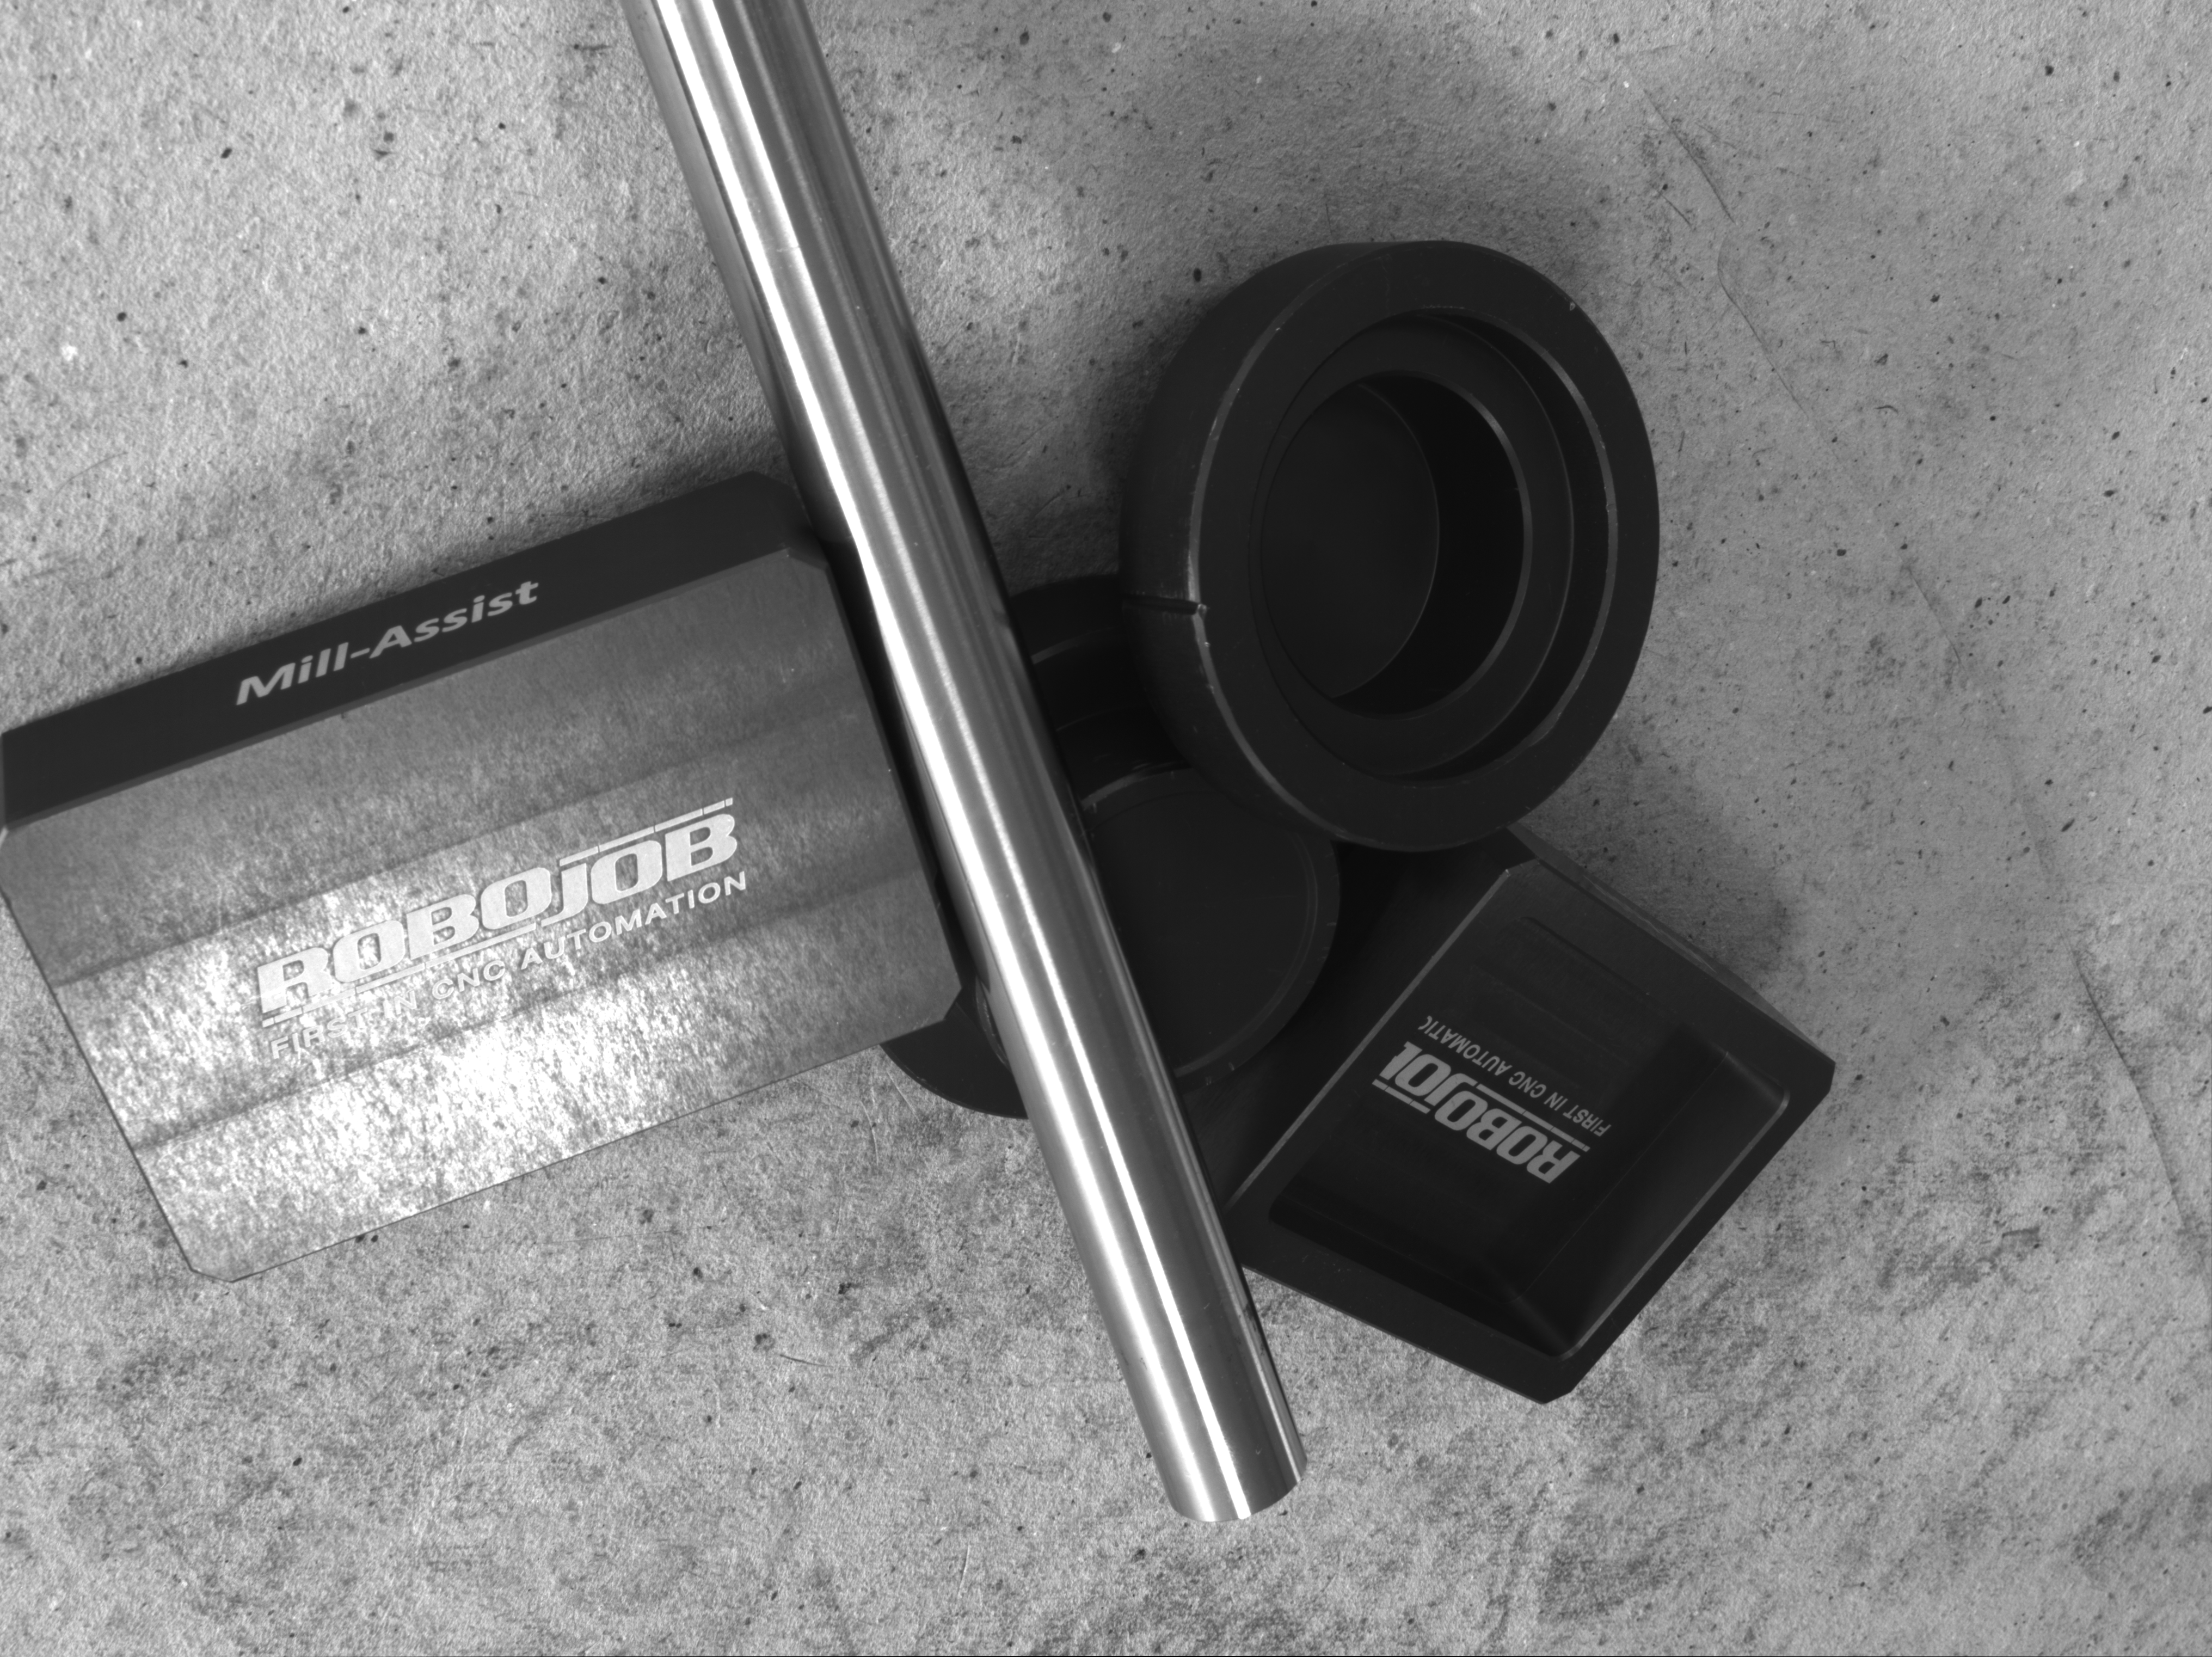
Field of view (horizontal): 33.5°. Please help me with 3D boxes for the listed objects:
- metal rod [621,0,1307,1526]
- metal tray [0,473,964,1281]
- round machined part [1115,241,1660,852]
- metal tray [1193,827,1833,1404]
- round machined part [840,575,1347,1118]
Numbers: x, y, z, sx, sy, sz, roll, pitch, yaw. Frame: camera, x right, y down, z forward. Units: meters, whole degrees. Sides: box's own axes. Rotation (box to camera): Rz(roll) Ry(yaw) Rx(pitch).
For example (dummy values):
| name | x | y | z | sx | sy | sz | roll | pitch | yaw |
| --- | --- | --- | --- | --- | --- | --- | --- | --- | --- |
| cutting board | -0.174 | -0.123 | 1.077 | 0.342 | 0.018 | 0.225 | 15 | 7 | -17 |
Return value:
| name | x | y | z | sx | sy | sz | roll | pitch | yaw |
| --- | --- | --- | --- | --- | --- | --- | --- | --- | --- |
| metal rod | -0.022 | -0.018 | 0.572 | 0.025 | 0.025 | 0.300 | -25 | 114 | -13 |
| metal tray | -0.097 | 0.008 | 0.574 | 0.130 | 0.030 | 0.090 | -20 | 123 | -6 |
| round machined part | 0.042 | -0.047 | 0.607 | 0.098 | 0.042 | 0.098 | -5 | 99 | -34 |
| metal tray | 0.073 | 0.052 | 0.691 | 0.090 | 0.030 | 0.130 | -51 | 139 | 7 |
| round machined part | 0.001 | 0.009 | 0.634 | 0.098 | 0.042 | 0.098 | -13 | 124 | -21 |
